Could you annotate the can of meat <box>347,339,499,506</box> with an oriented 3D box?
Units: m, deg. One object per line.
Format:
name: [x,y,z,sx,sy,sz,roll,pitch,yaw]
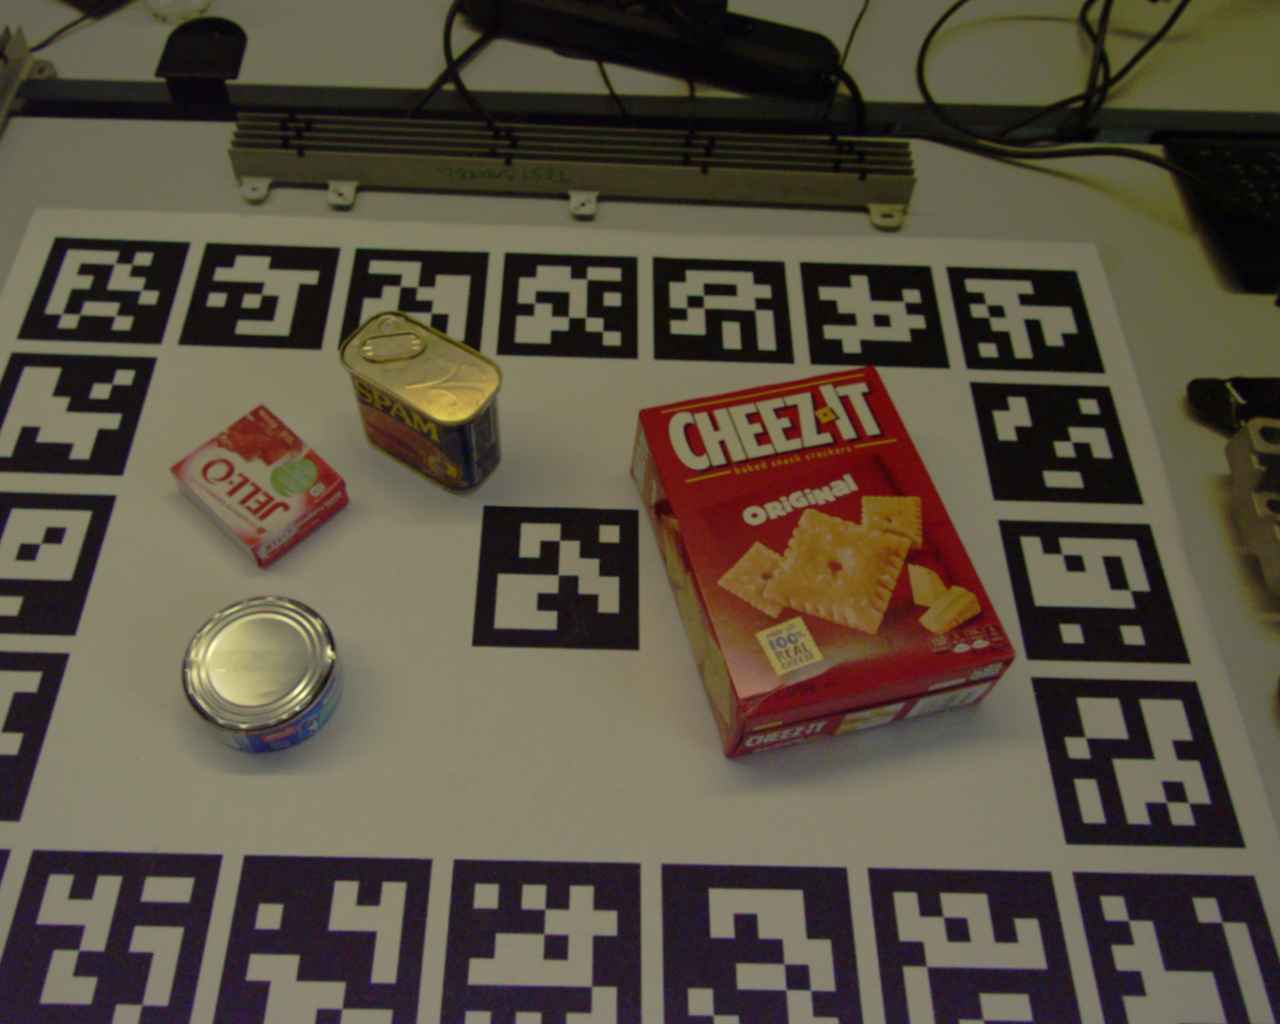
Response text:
can of meat: [-0.147,-0.059,0.791,0.102,0.083,0.057,26,58,15]

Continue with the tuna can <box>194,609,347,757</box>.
tuna can: [-0.223,0.104,0.694,0.085,0.033,0.086,1,59,-2]

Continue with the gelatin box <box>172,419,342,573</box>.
gelatin box: [-0.259,-0.013,0.777,0.090,0.030,0.073,38,59,18]

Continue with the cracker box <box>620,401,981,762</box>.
cracker box: [0.096,0.036,0.744,0.163,0.072,0.215,-12,56,-13]
